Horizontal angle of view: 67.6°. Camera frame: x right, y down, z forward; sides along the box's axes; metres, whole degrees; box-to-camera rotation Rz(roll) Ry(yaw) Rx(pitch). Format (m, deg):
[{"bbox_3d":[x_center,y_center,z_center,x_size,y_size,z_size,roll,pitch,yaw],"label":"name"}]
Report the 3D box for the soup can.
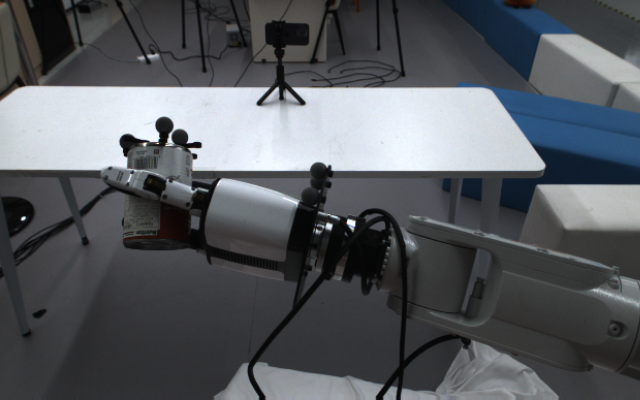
[{"bbox_3d":[-0.166,-0.001,0.505,0.067,0.067,0.101,-1,76,-5],"label":"soup can"}]
